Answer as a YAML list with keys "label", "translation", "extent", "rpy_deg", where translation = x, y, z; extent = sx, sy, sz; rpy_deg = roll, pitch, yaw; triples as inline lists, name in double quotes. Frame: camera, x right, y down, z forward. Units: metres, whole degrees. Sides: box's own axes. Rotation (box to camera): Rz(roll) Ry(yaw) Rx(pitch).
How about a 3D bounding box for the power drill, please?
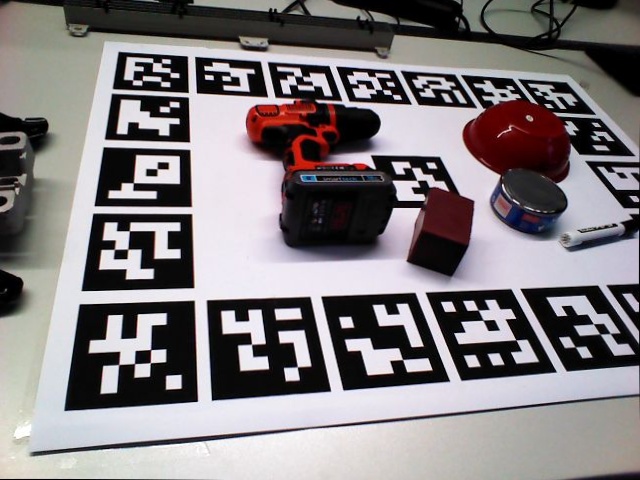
- label: "power drill"
  translation: [0.010, -0.087, 0.607]
  extent: [0.184, 0.058, 0.186]
  rpy_deg: [1, 45, -17]

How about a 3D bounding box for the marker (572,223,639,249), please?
- label: "marker"
  translation: [0.361, -0.006, 0.631]
  extent: [0.121, 0.020, 0.019]
  rpy_deg: [-8, 52, -20]

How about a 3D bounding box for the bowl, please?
- label: "bowl"
  translation: [0.295, -0.144, 0.736]
  extent: [0.162, 0.055, 0.161]
  rpy_deg: [4, 40, -4]

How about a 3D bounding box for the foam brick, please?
- label: "foam brick"
  translation: [0.140, -0.003, 0.565]
  extent: [0.051, 0.053, 0.077]
  rpy_deg: [18, 47, 2]

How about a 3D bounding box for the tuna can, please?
- label: "tuna can"
  translation: [0.269, -0.048, 0.640]
  extent: [0.086, 0.034, 0.085]
  rpy_deg: [8, 46, -9]
